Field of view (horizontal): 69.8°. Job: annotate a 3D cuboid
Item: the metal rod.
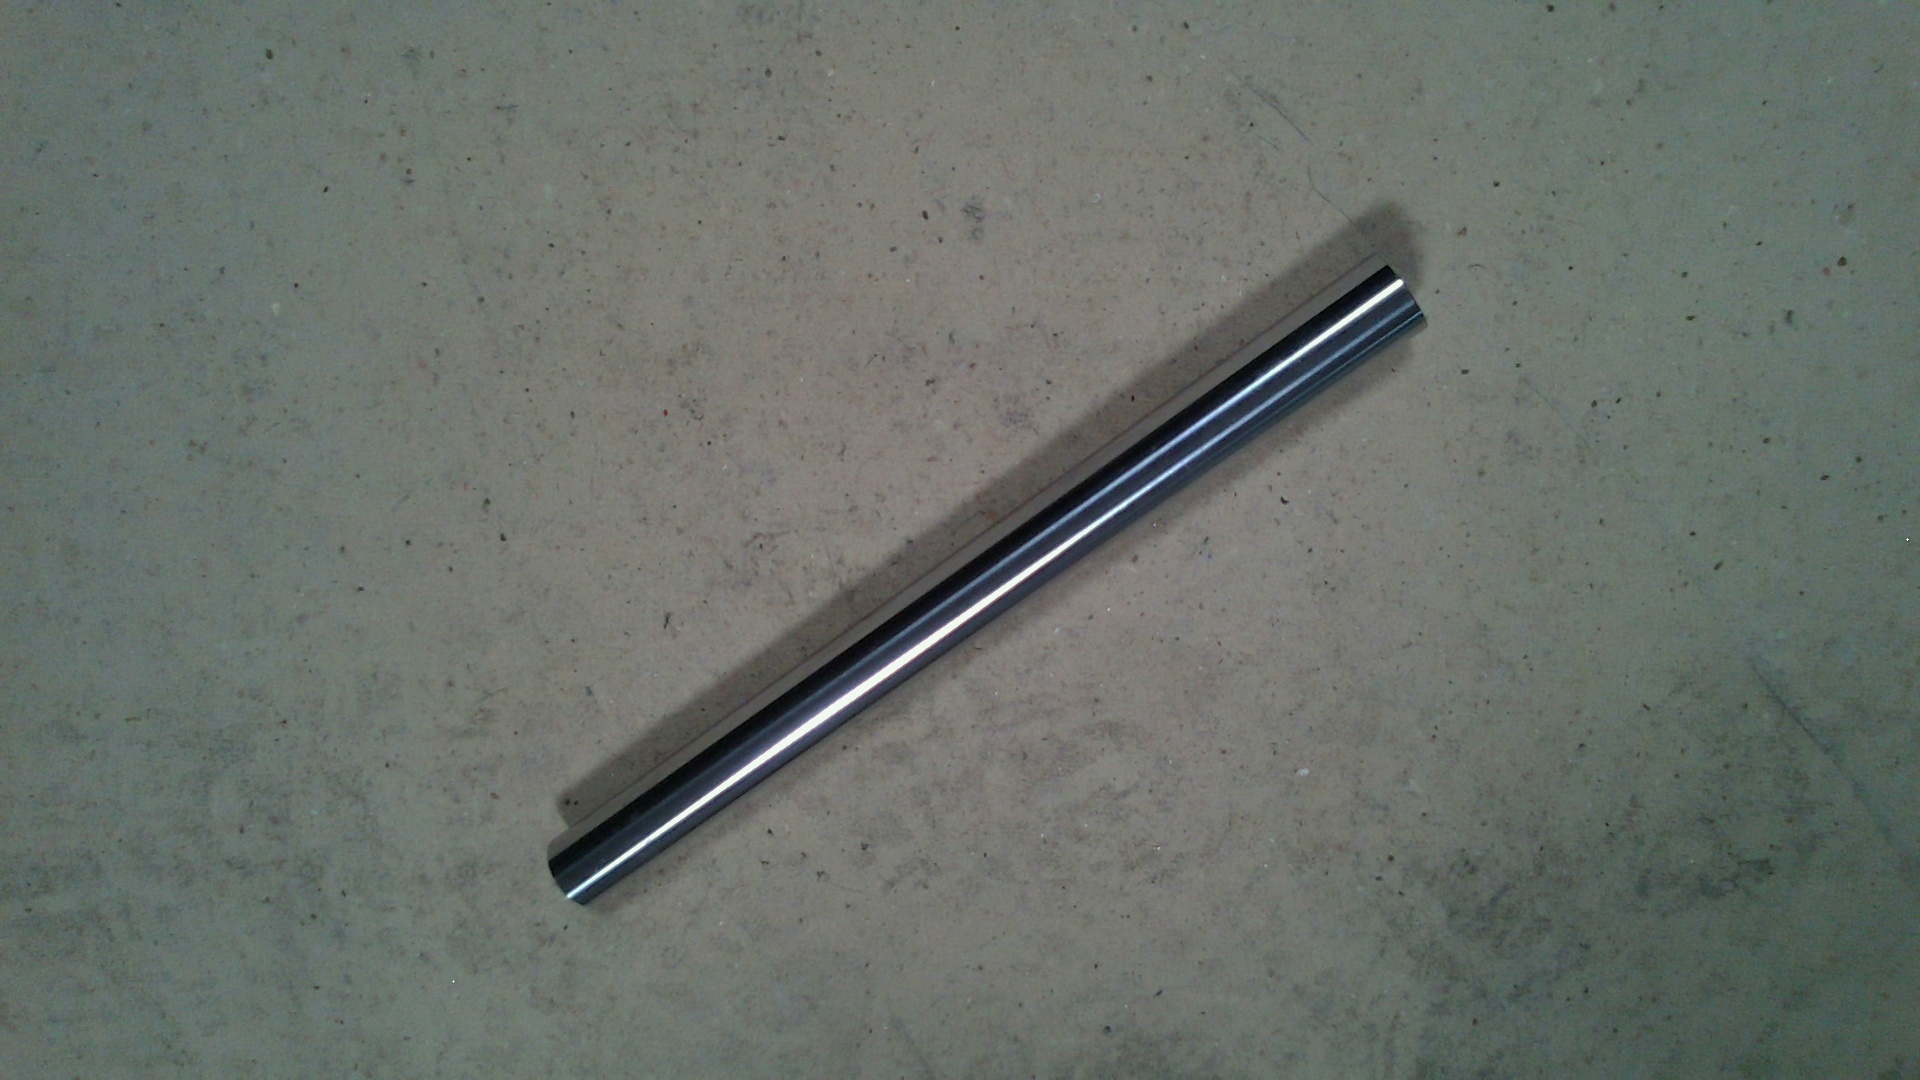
[{"bbox_3d":[-0.001,0.018,0.401,0.300,0.025,0.025,-36,106,12],"label":"metal rod"}]
